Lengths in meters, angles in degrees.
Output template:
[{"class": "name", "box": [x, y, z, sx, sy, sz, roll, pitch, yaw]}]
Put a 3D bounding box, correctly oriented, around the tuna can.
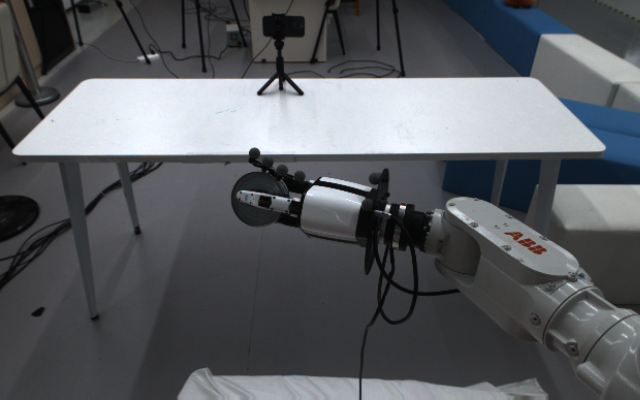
[{"class": "tuna can", "box": [-0.090, -0.001, 0.748, 0.085, 0.085, 0.034, 10, 4, 11]}]
